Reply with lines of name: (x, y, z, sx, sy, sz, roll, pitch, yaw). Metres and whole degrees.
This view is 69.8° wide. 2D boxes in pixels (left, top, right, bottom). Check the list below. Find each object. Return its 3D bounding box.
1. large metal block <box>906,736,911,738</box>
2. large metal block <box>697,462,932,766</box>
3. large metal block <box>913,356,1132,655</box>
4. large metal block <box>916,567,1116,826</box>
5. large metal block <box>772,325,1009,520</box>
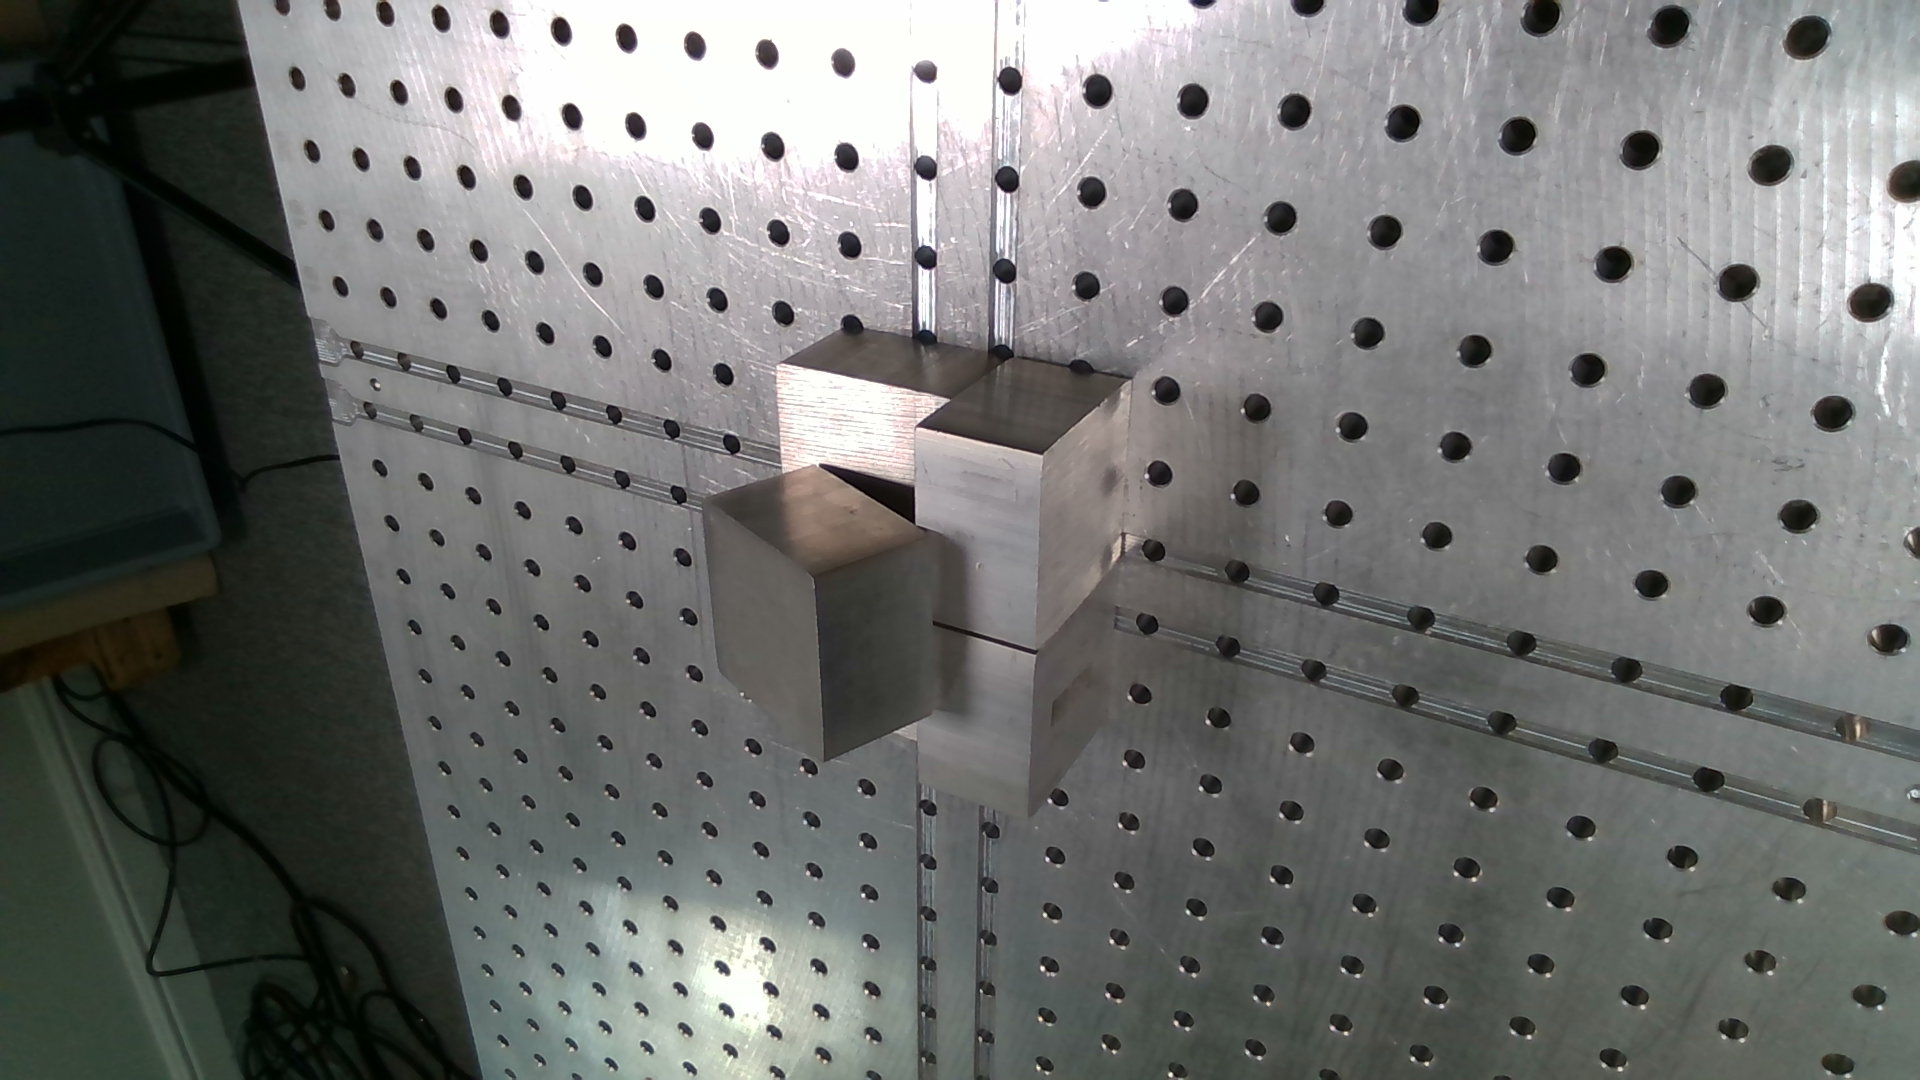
large metal block: (-0.028, 0.035, 0.600, 0.080, 0.050, 0.080, 15, 122, 24)
large metal block: (-0.056, 0.026, 0.529, 0.080, 0.050, 0.080, 31, 132, 44)
large metal block: (0.024, -0.016, 0.523, 0.050, 0.080, 0.080, 15, 122, 24)
large metal block: (0.024, 0.055, 0.562, 0.050, 0.080, 0.080, 15, 122, 24)
large metal block: (-0.027, -0.036, 0.561, 0.080, 0.050, 0.080, 15, 122, 24)
